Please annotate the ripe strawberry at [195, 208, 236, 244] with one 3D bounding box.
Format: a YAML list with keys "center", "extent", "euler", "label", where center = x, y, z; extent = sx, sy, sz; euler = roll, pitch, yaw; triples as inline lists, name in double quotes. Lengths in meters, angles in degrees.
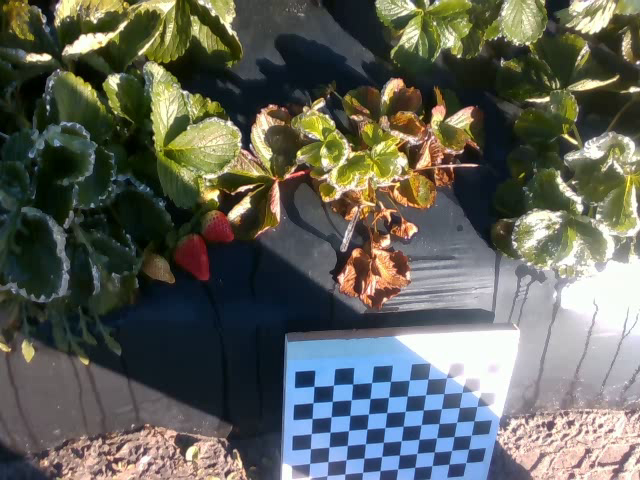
- center: [-0.101, -0.011, 0.632]
  extent: [0.041, 0.036, 0.030]
  euler: [26, 18, -16]
  label: "ripe strawberry"

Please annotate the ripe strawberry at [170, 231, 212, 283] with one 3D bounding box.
- center: [-0.122, 0.022, 0.624]
  extent: [0.036, 0.052, 0.039]
  euler: [-36, -11, 6]
  label: "ripe strawberry"
